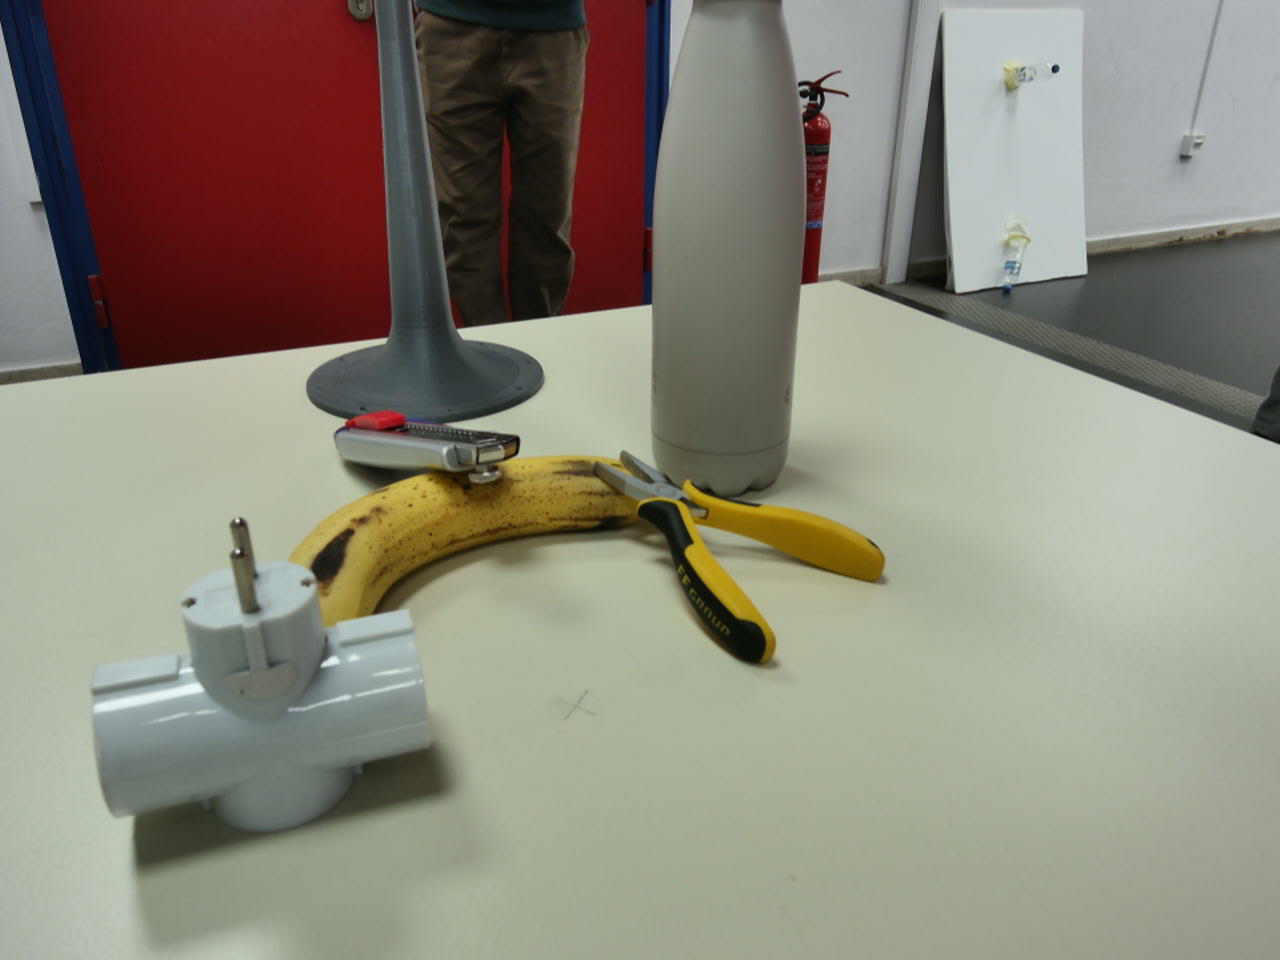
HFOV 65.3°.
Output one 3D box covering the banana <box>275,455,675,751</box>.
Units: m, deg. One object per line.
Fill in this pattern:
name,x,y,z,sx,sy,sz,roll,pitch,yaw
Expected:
banana,-0.074,0.026,0.420,0.097,0.038,0.186,16,28,32
